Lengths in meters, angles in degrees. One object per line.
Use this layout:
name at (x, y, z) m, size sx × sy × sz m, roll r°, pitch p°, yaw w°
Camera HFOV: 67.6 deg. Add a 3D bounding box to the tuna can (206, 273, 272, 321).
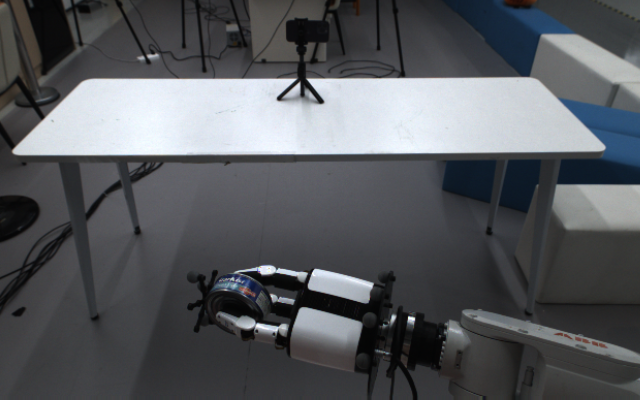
tuna can at (-0.106, 0.140, 0.648) m, size 0.085 × 0.085 × 0.034 m, roll 9°, pitch 33°, yaw 10°
